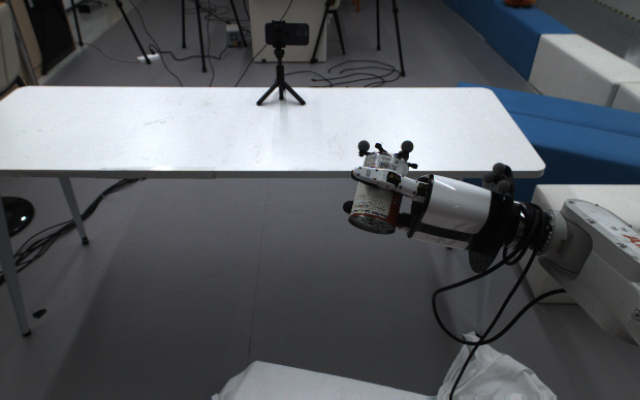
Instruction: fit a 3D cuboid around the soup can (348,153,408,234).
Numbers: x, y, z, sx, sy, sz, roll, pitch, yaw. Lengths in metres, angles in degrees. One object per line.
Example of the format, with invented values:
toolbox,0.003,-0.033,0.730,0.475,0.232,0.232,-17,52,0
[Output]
soup can,0.087,-0.009,0.696,0.067,0.067,0.101,11,72,13
